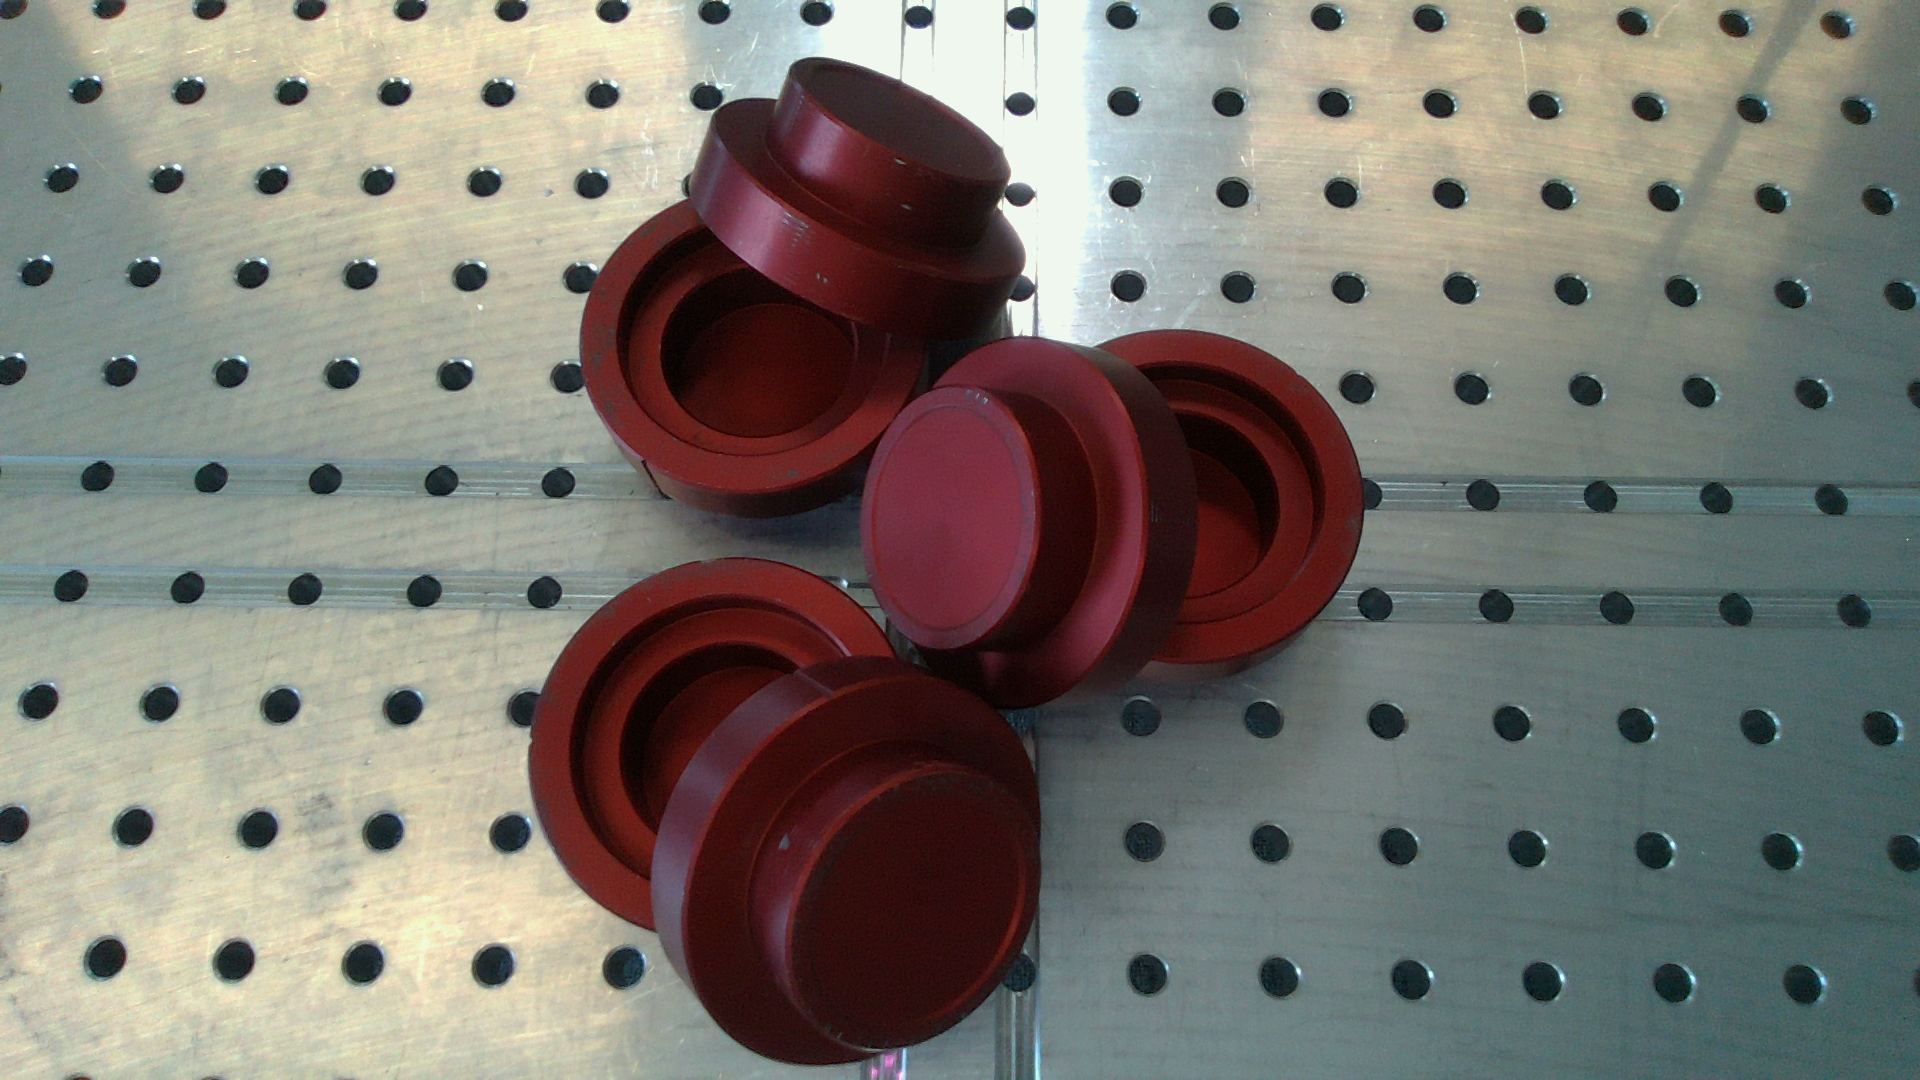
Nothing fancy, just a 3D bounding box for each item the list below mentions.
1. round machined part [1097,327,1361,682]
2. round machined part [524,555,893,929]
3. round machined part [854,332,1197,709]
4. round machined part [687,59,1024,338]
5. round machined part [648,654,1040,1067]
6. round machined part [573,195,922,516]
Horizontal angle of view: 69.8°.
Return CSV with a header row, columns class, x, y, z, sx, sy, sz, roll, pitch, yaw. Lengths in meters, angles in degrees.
class,x,y,z,sx,sy,sz,roll,pitch,yaw
round machined part,0.059,-0.007,0.390,0.098,0.042,0.098,0,70,0
round machined part,-0.061,0.057,0.366,0.098,0.042,0.098,0,70,0
round machined part,0.010,-0.005,0.358,0.042,0.098,0.098,5,63,-43
round machined part,-0.025,-0.103,0.396,0.098,0.042,0.098,22,30,-13
round machined part,-0.020,0.080,0.328,0.098,0.042,0.098,-8,105,-32
round machined part,-0.060,-0.052,0.406,0.098,0.042,0.098,0,70,0
